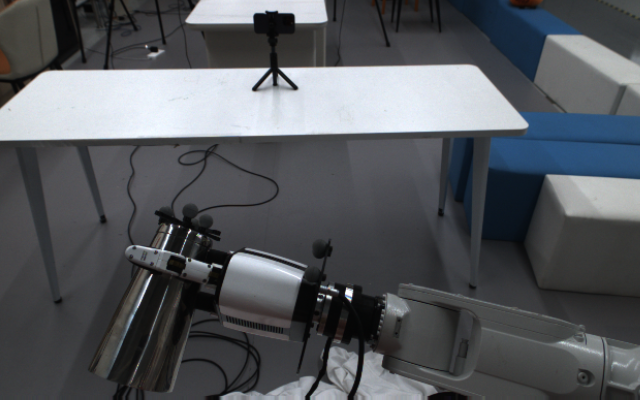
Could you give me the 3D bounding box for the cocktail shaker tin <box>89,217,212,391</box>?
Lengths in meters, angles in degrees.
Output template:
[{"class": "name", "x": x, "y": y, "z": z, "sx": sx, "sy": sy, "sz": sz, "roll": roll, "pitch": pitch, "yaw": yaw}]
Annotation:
[{"class": "cocktail shaker tin", "x": -0.181, "y": 0.117, "z": 0.550, "sx": 0.093, "sy": 0.093, "sz": 0.170, "roll": 12, "pitch": 72, "yaw": 14}]
